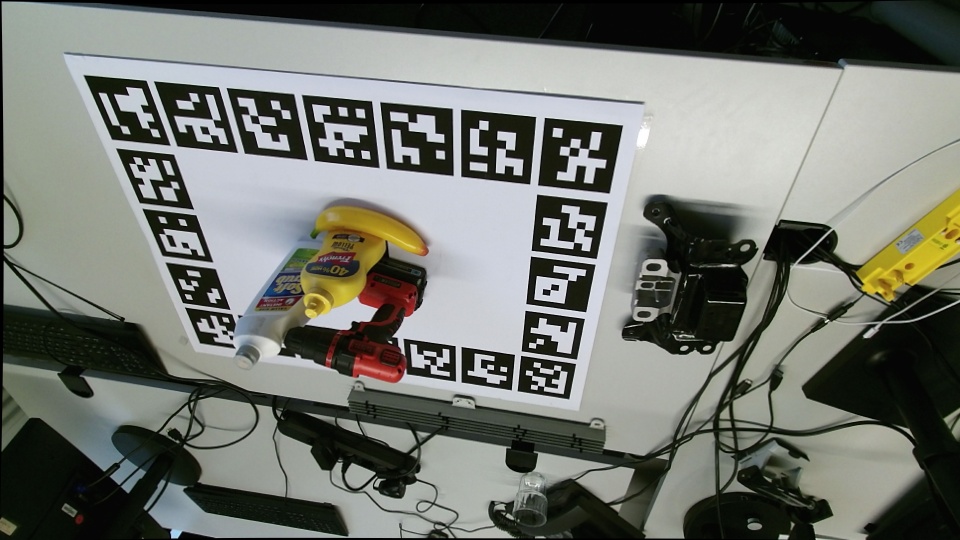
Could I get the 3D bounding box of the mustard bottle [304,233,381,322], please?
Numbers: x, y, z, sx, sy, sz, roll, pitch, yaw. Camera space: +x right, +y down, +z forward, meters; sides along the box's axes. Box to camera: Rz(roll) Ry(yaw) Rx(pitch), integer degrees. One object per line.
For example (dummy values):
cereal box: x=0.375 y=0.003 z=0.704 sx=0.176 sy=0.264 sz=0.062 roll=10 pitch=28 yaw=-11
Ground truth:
mustard bottle: x=-0.224 y=0.012 z=0.810 sx=0.096 sy=0.191 sz=0.058 roll=8 pitch=126 yaw=7

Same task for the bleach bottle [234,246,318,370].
bleach bottle: x=-0.299 y=0.064 z=0.833 sx=0.103 sy=0.250 sz=0.068 roll=9 pitch=131 yaw=5

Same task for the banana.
banana: x=-0.188 y=-0.058 z=0.859 sx=0.198 sy=0.039 sz=0.074 roll=10 pitch=125 yaw=2

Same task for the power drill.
power drill: x=-0.190 y=0.086 z=0.830 sx=0.185 sy=0.186 sz=0.057 roll=18 pitch=127 yaw=1
